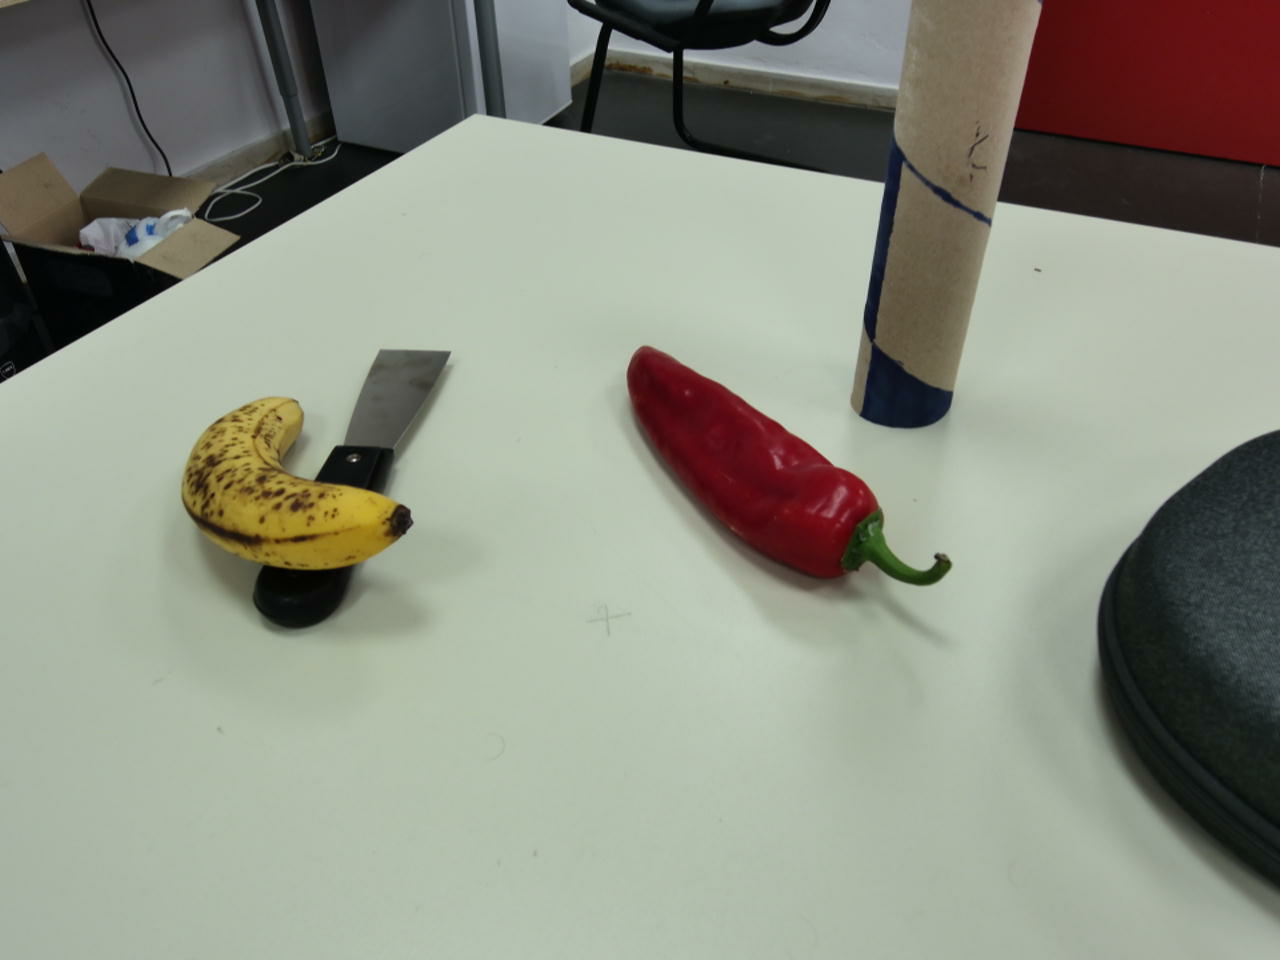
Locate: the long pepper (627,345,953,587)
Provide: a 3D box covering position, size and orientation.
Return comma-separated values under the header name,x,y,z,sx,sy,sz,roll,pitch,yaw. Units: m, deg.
name,x,y,z,sx,sy,sz,roll,pitch,yaw
long pepper,0.047,-0.009,0.432,0.050,0.043,0.211,-20,41,-24
